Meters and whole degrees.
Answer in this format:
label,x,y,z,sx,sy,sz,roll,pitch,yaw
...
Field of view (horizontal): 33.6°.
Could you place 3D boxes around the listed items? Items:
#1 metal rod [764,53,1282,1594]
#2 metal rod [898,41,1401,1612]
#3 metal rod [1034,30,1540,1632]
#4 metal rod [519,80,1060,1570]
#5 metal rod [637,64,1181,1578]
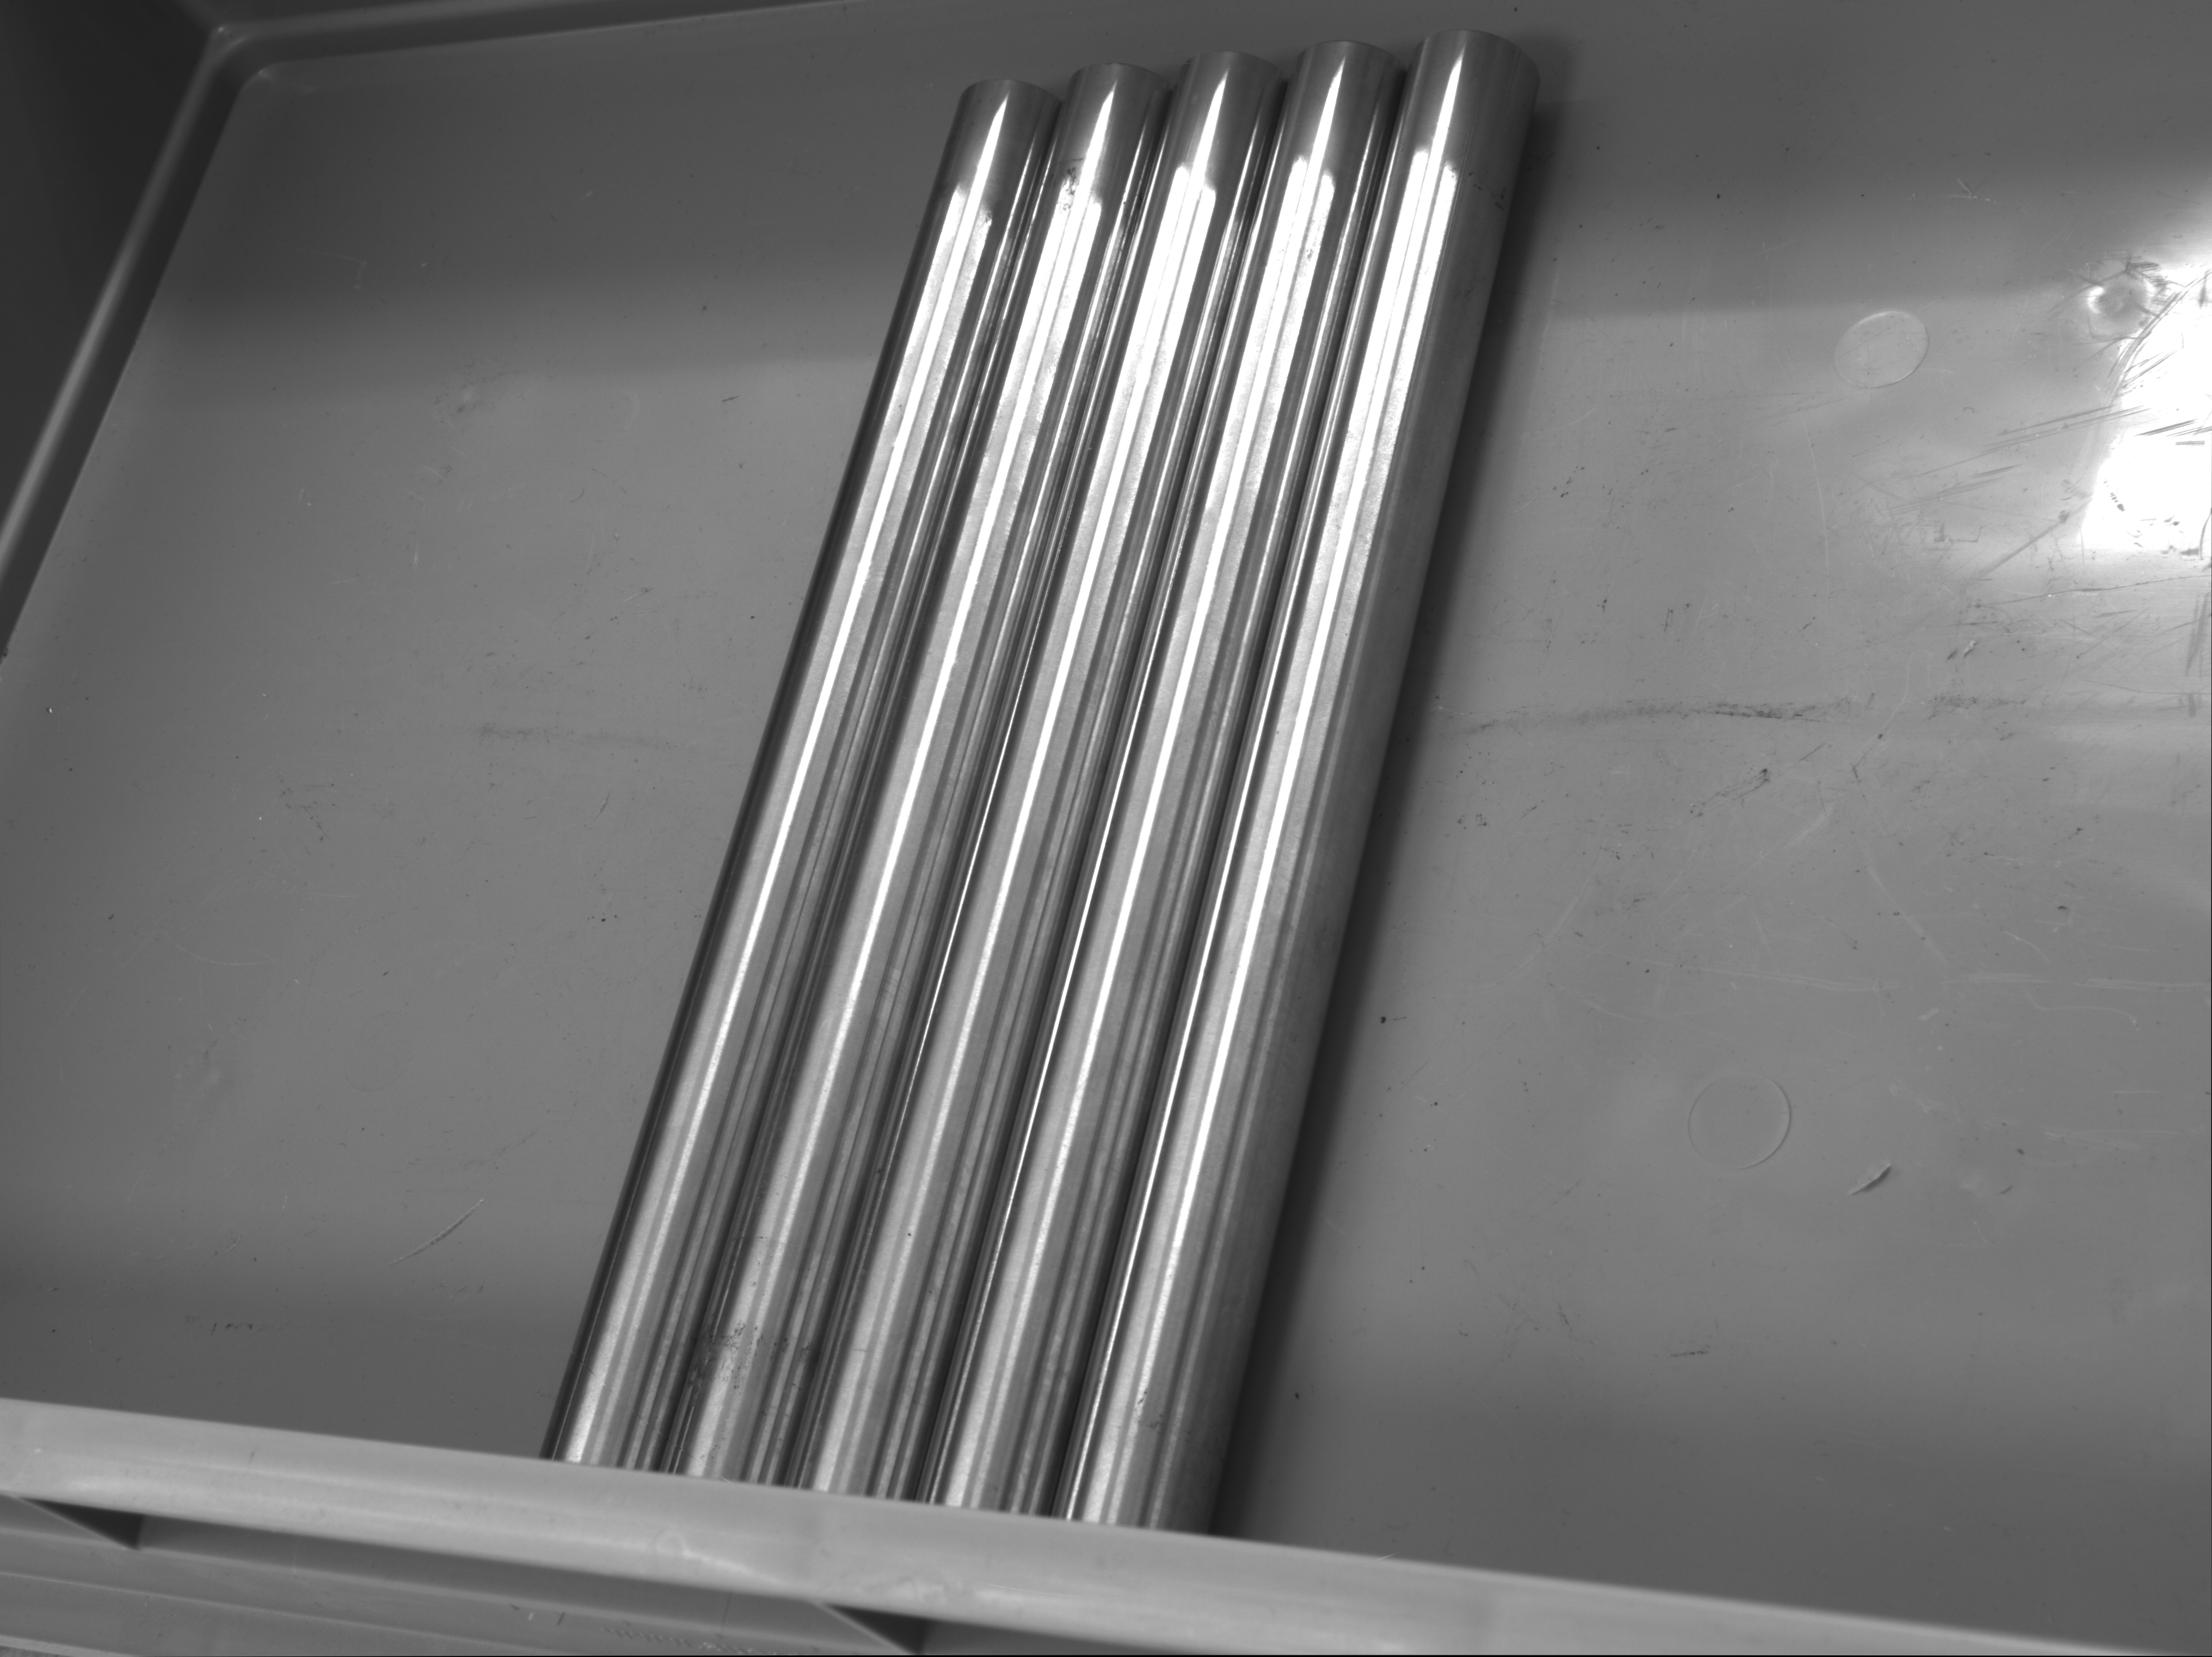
label,x,y,z,sx,sy,sz,roll,pitch,yaw
metal rod,-0.009,-0.012,0.656,0.025,0.025,0.300,0,61,29
metal rod,0.014,-0.012,0.644,0.025,0.025,0.300,0,61,29
metal rod,0.035,-0.011,0.632,0.025,0.025,0.300,0,61,29
metal rod,-0.052,-0.012,0.679,0.025,0.025,0.300,0,61,29
metal rod,-0.031,-0.012,0.668,0.025,0.025,0.300,0,61,29
